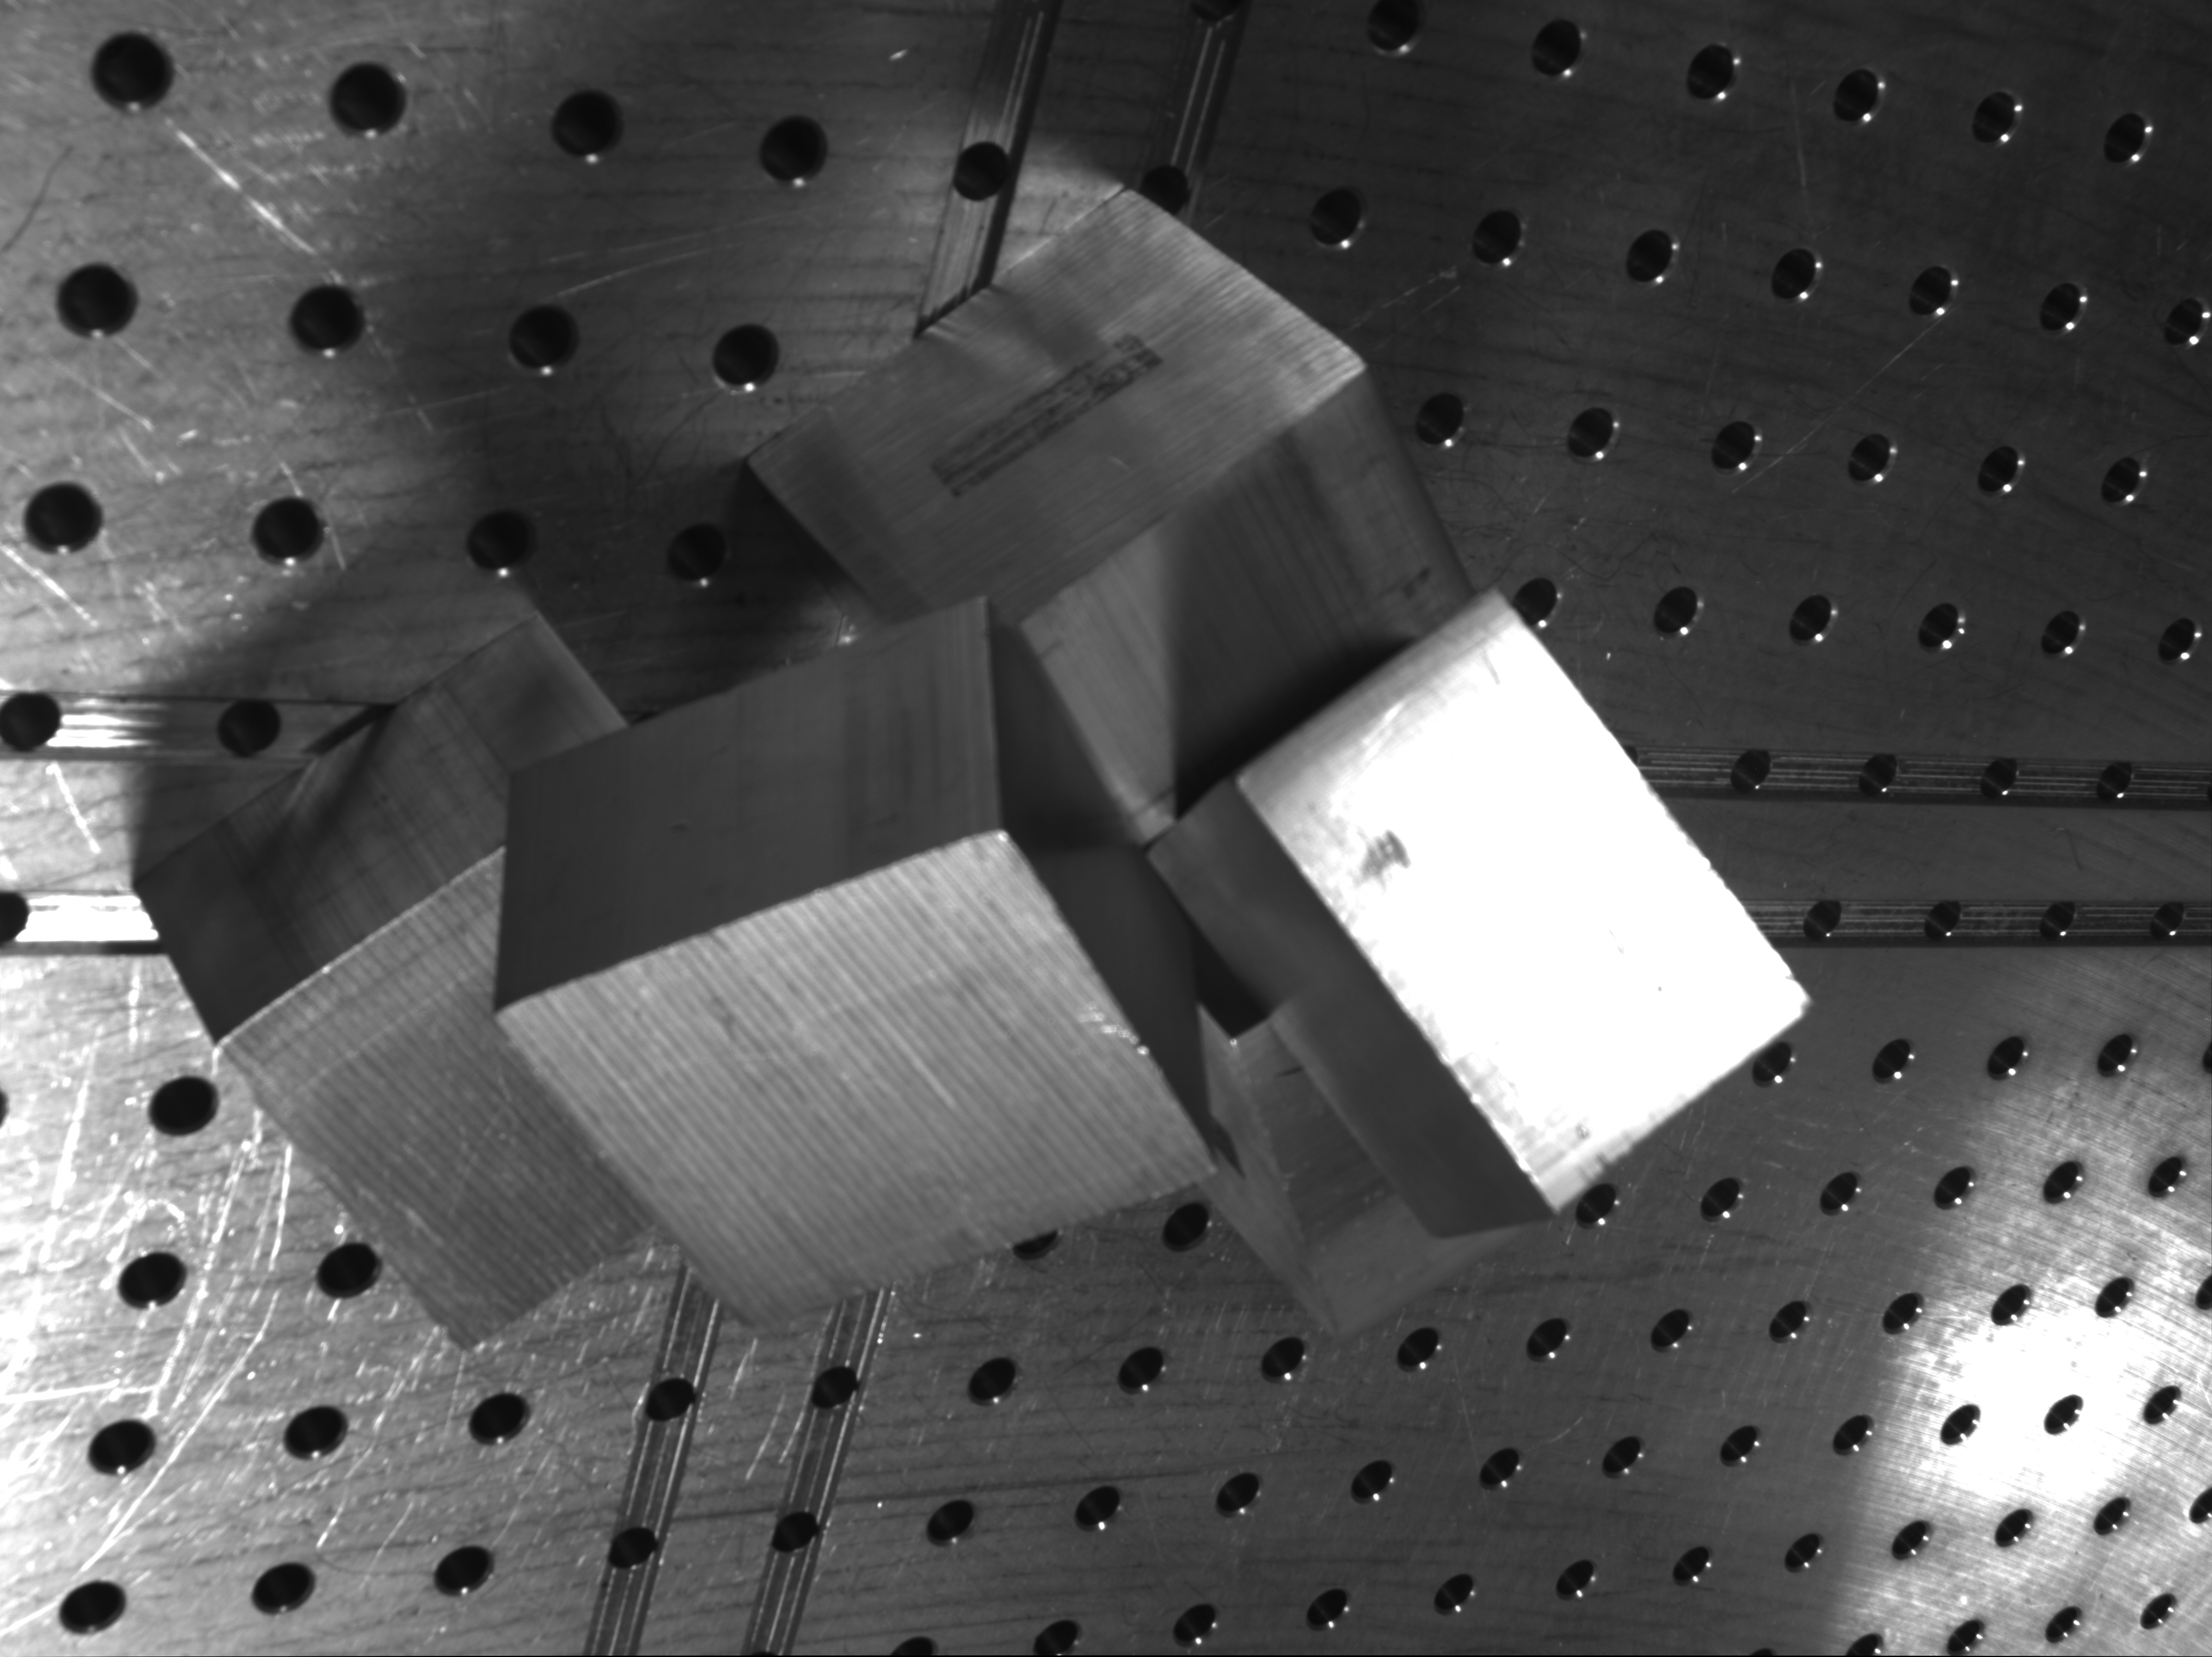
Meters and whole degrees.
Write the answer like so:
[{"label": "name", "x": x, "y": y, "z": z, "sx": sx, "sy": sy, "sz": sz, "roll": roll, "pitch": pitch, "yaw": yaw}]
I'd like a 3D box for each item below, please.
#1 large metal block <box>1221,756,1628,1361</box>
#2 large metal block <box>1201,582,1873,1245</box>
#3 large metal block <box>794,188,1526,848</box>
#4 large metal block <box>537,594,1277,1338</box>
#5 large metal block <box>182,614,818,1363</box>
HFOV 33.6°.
[{"label": "large metal block", "x": 0.044, "y": 0.034, "z": 0.663, "sx": 0.050, "sy": 0.080, "sz": 0.080, "roll": -30, "pitch": 129, "yaw": -11}, {"label": "large metal block", "x": 0.063, "y": 0.016, "z": 0.572, "sx": 0.050, "sy": 0.080, "sz": 0.080, "roll": -37, "pitch": 88, "yaw": -11}, {"label": "large metal block", "x": 0.008, "y": -0.048, "z": 0.591, "sx": 0.080, "sy": 0.080, "sz": 0.050, "roll": -36, "pitch": 130, "yaw": -6}, {"label": "large metal block", "x": -0.029, "y": 0.022, "z": 0.549, "sx": 0.080, "sy": 0.050, "sz": 0.080, "roll": -20, "pitch": 131, "yaw": 14}, {"label": "large metal block", "x": -0.090, "y": 0.026, "z": 0.601, "sx": 0.080, "sy": 0.050, "sz": 0.080, "roll": -34, "pitch": 130, "yaw": -7}]
